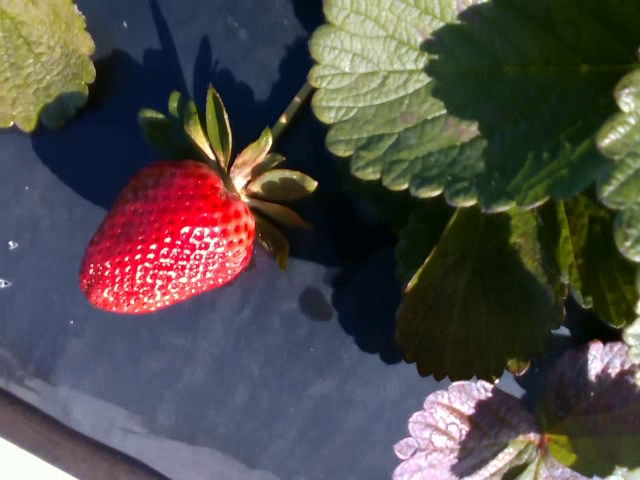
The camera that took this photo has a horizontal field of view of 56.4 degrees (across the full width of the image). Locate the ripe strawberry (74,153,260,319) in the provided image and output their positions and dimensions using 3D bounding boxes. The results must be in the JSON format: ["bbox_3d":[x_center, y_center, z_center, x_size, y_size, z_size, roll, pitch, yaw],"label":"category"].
[{"bbox_3d":[-0.043,0.003,0.161,0.050,0.043,0.043,-38,16,-25],"label":"ripe strawberry"}]
